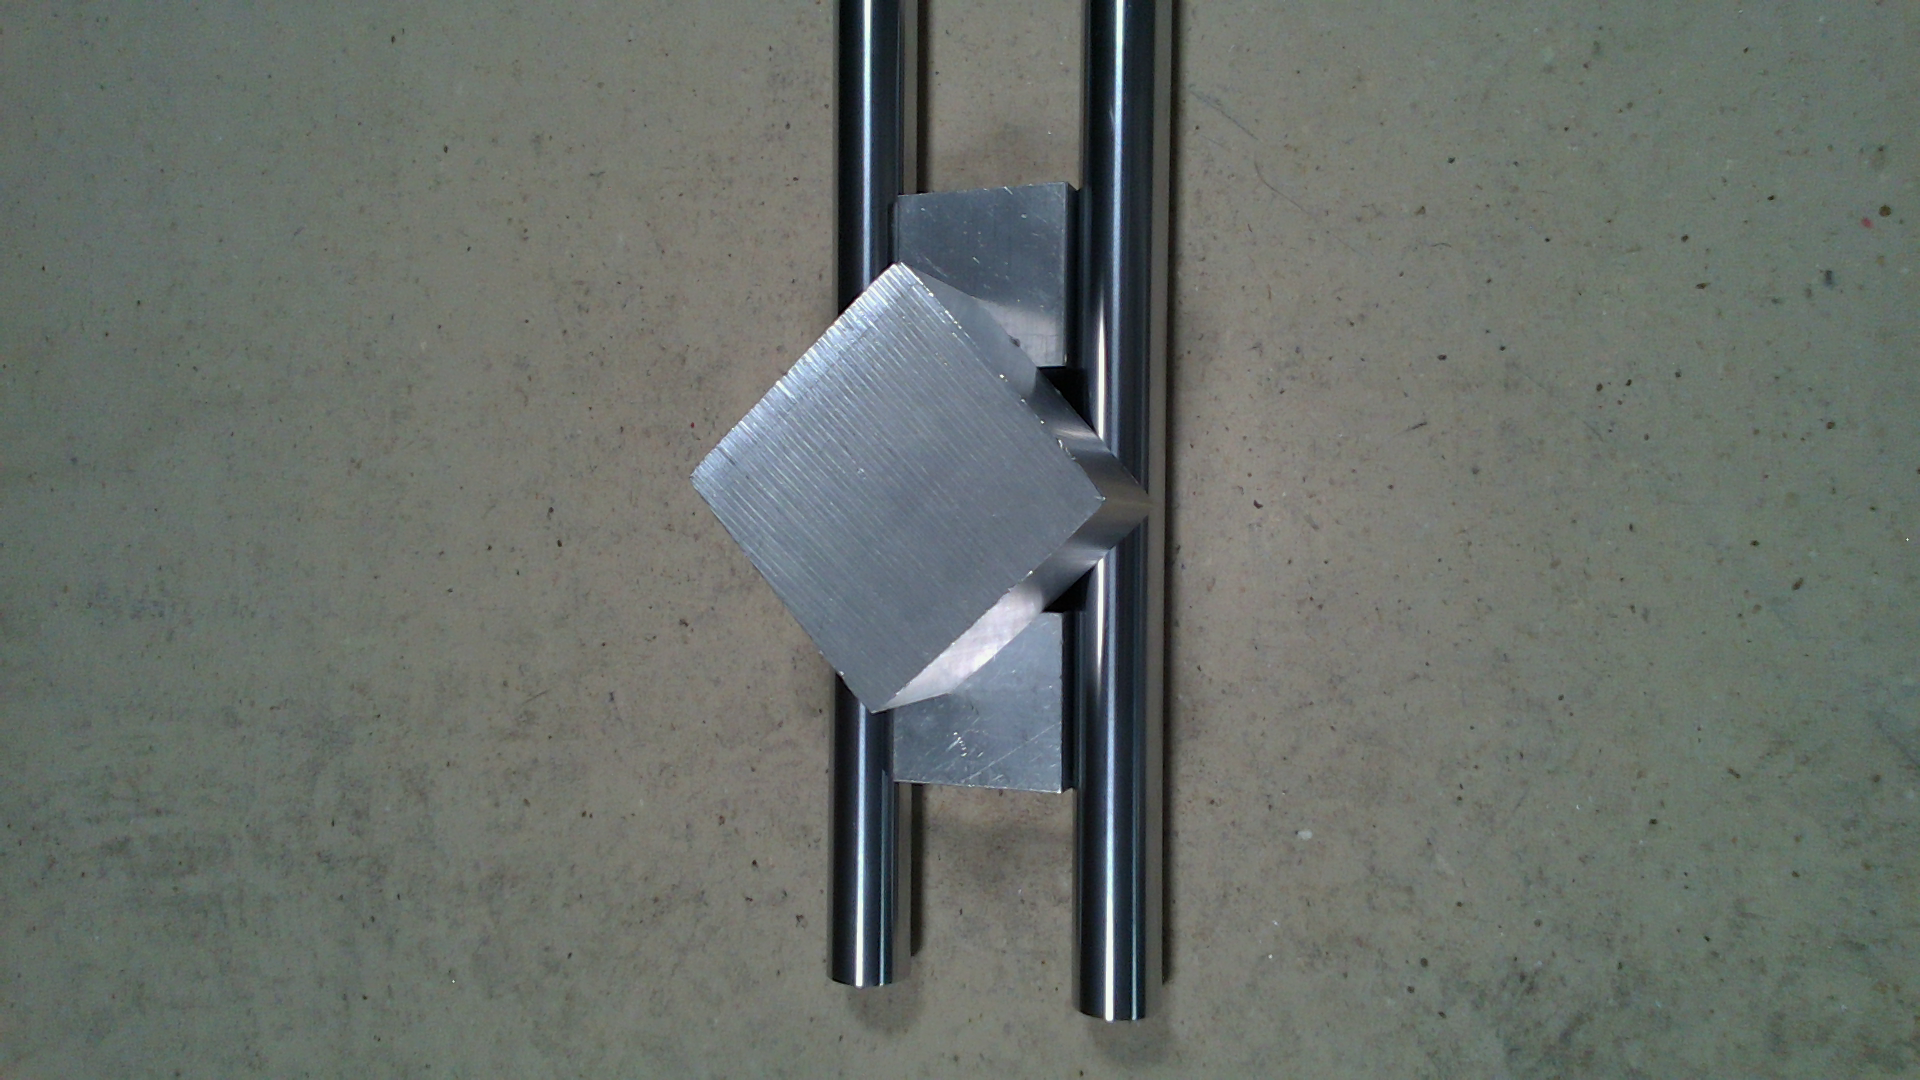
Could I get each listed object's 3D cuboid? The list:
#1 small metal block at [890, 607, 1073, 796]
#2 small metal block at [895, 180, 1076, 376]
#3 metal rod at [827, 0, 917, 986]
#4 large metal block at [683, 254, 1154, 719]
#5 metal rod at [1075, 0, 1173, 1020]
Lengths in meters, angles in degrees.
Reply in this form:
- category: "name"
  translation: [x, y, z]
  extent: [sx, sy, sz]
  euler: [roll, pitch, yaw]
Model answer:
- category: "small metal block"
  translation: [0.008, 0.044, 0.392]
  extent: [0.050, 0.025, 0.050]
  euler: [1, 90, 20]
- category: "small metal block"
  translation: [0.009, -0.073, 0.391]
  extent: [0.050, 0.025, 0.050]
  euler: [1, 90, 20]
- category: "metal rod"
  translation: [-0.026, -0.022, 0.406]
  extent: [0.025, 0.025, 0.300]
  euler: [1, 90, 20]
- category: "large metal block"
  translation: [-0.010, -0.013, 0.357]
  extent: [0.080, 0.050, 0.080]
  euler: [-43, 77, 15]
- category: "metal rod"
  translation: [0.045, -0.022, 0.380]
  extent: [0.025, 0.025, 0.300]
  euler: [1, 90, 20]
